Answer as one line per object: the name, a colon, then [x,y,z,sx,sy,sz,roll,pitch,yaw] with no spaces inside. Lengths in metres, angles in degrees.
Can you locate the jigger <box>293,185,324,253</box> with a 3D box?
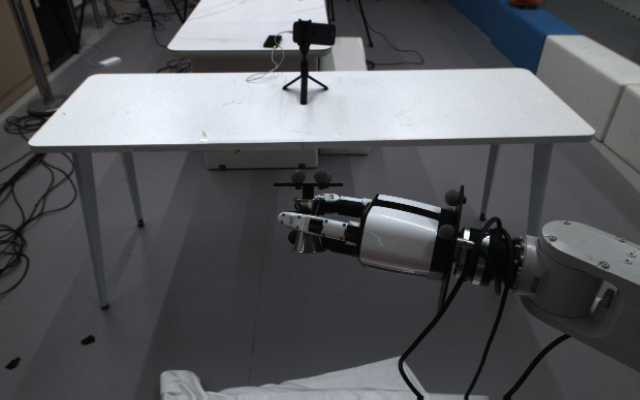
jigger: [-0.015,0.031,0.624,0.043,0.071,0.043,-1,2,0]
